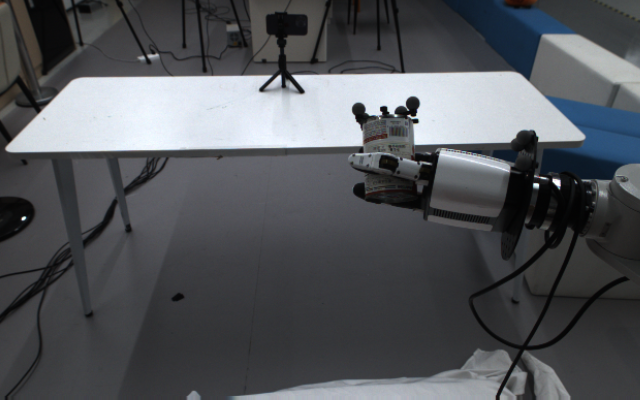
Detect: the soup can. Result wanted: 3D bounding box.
[{"bbox_3d":[0.090,-0.051,0.620,0.067,0.101,0.067,-1,-9,0],"label":"soup can"}]
